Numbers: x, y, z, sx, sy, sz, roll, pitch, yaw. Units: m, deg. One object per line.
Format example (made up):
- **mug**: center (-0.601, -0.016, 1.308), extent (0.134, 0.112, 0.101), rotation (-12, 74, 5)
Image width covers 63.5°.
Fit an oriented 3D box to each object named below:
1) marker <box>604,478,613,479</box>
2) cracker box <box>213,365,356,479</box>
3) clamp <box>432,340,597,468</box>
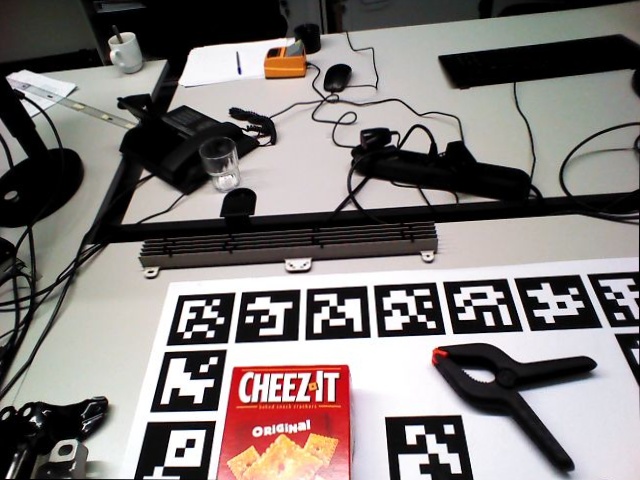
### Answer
- **marker**: center (0.333, 0.317, 0.552), extent (0.020, 0.020, 0.120), rotation (-6, 44, 4)
- **cracker box**: center (-0.040, 0.263, 0.642), extent (0.165, 0.072, 0.212), rotation (-3, 45, 8)
- **clamp**: center (0.249, 0.190, 0.702), extent (0.204, 0.037, 0.164), rotation (20, 51, 27)
